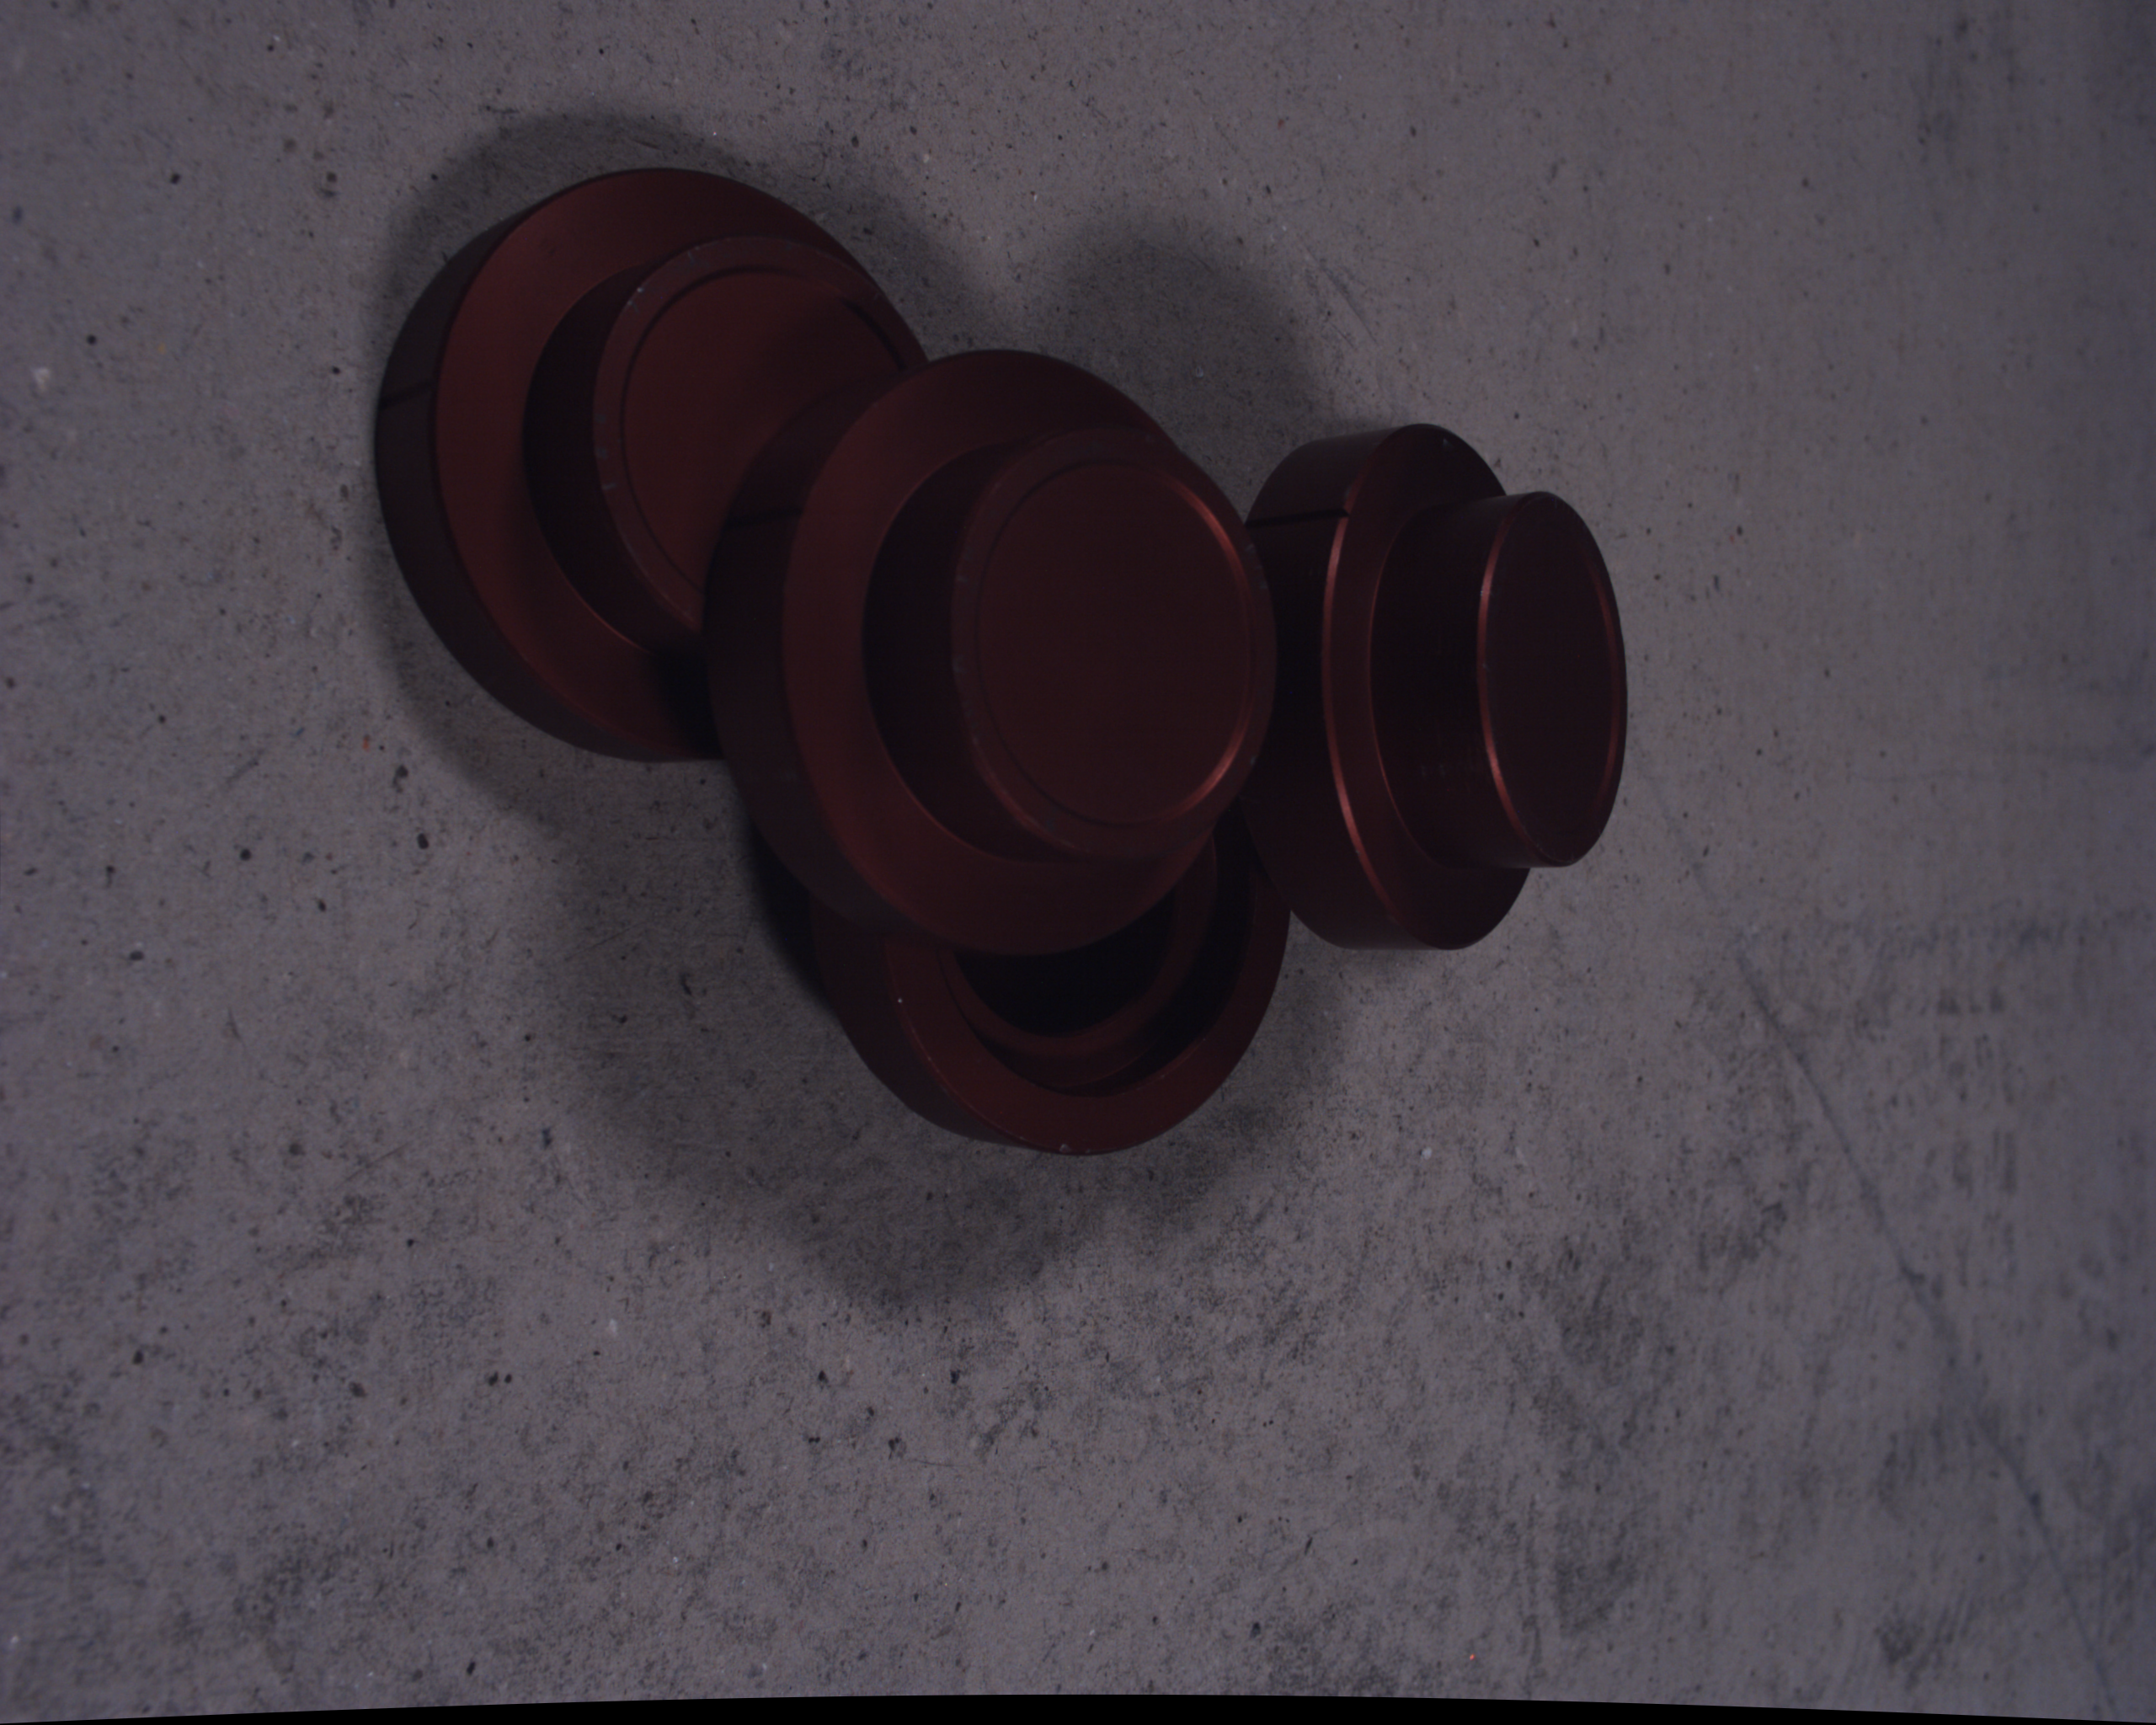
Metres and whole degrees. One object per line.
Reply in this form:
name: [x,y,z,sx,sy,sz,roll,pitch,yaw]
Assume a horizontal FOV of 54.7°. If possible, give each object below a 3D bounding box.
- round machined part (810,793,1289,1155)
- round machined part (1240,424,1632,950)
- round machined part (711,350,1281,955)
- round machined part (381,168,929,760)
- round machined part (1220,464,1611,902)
round machined part: [-0.009,0.004,0.389,0.099,0.042,0.097,0,90,-40]
round machined part: [0.070,-0.032,0.388,0.099,0.042,0.097,3,87,-53]
round machined part: [-0.006,-0.034,0.337,0.099,0.042,0.097,0,90,-40]
round machined part: [-0.059,-0.066,0.346,0.099,0.042,0.097,0,90,-40]
round machined part: [0.081,-0.040,0.465,0.099,0.042,0.097,0,90,-40]
